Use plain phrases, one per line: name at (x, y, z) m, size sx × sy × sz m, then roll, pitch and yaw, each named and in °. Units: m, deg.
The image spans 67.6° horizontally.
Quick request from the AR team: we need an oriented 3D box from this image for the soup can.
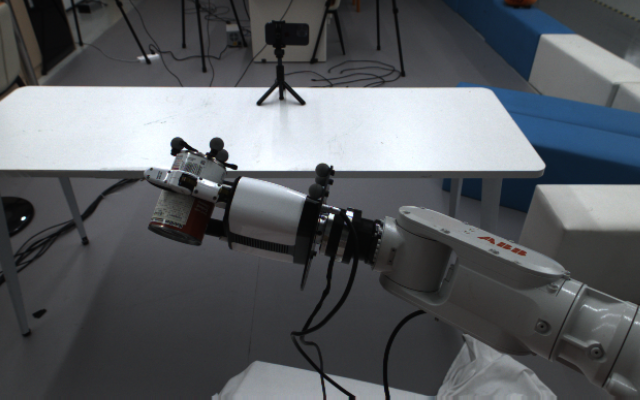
soup can at (-0.162, -0.001, 0.601) m, size 0.067 × 0.067 × 0.101 m, roll 11°, pitch 72°, yaw 13°
